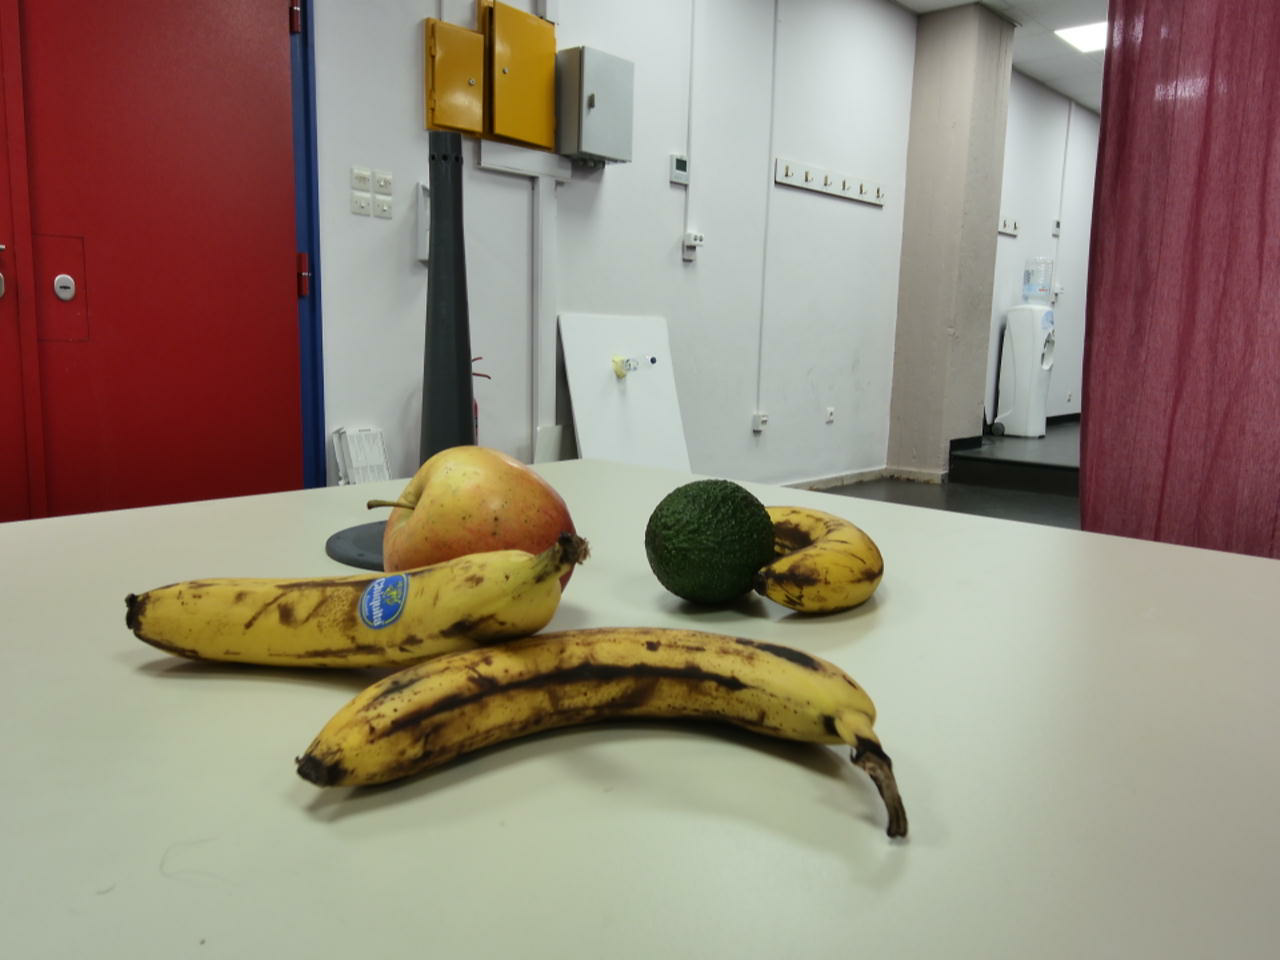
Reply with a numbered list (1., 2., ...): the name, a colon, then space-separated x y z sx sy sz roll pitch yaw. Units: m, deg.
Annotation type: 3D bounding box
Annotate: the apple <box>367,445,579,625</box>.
1. apple: -0.077 0.027 0.480 0.093 0.084 0.086 2 6 6
